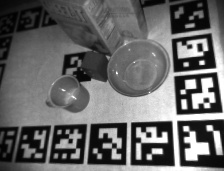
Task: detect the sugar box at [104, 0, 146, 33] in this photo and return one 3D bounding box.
[{"bbox_3d":[0.024,-0.204,0.566,0.092,0.178,0.045,16,76,25],"label":"sugar box"}]

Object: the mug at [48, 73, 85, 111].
[{"bbox_3d":[-0.135,0.021,0.586,0.116,0.082,0.093,-15,58,16],"label":"mug"}]

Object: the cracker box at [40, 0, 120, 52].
[{"bbox_3d":[-0.087,-0.188,0.579,0.162,0.216,0.072,25,78,26],"label":"cracker box"}]

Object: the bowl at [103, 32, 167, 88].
[{"bbox_3d":[0.062,-0.053,0.552,0.160,0.056,0.161,-6,69,17],"label":"bowl"}]

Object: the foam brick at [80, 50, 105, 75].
[{"bbox_3d":[-0.052,-0.070,0.603,0.052,0.079,0.051,10,73,24],"label":"foam brick"}]
